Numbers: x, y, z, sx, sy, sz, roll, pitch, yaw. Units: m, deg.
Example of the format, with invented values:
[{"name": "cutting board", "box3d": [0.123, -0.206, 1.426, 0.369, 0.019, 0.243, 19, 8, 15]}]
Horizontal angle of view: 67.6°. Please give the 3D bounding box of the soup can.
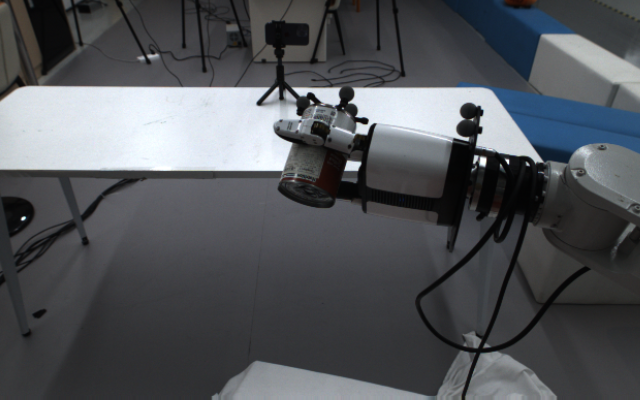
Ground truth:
[{"name": "soup can", "box3d": [-0.002, -0.052, 0.557, 0.067, 0.067, 0.101, 12, 70, 14]}]
